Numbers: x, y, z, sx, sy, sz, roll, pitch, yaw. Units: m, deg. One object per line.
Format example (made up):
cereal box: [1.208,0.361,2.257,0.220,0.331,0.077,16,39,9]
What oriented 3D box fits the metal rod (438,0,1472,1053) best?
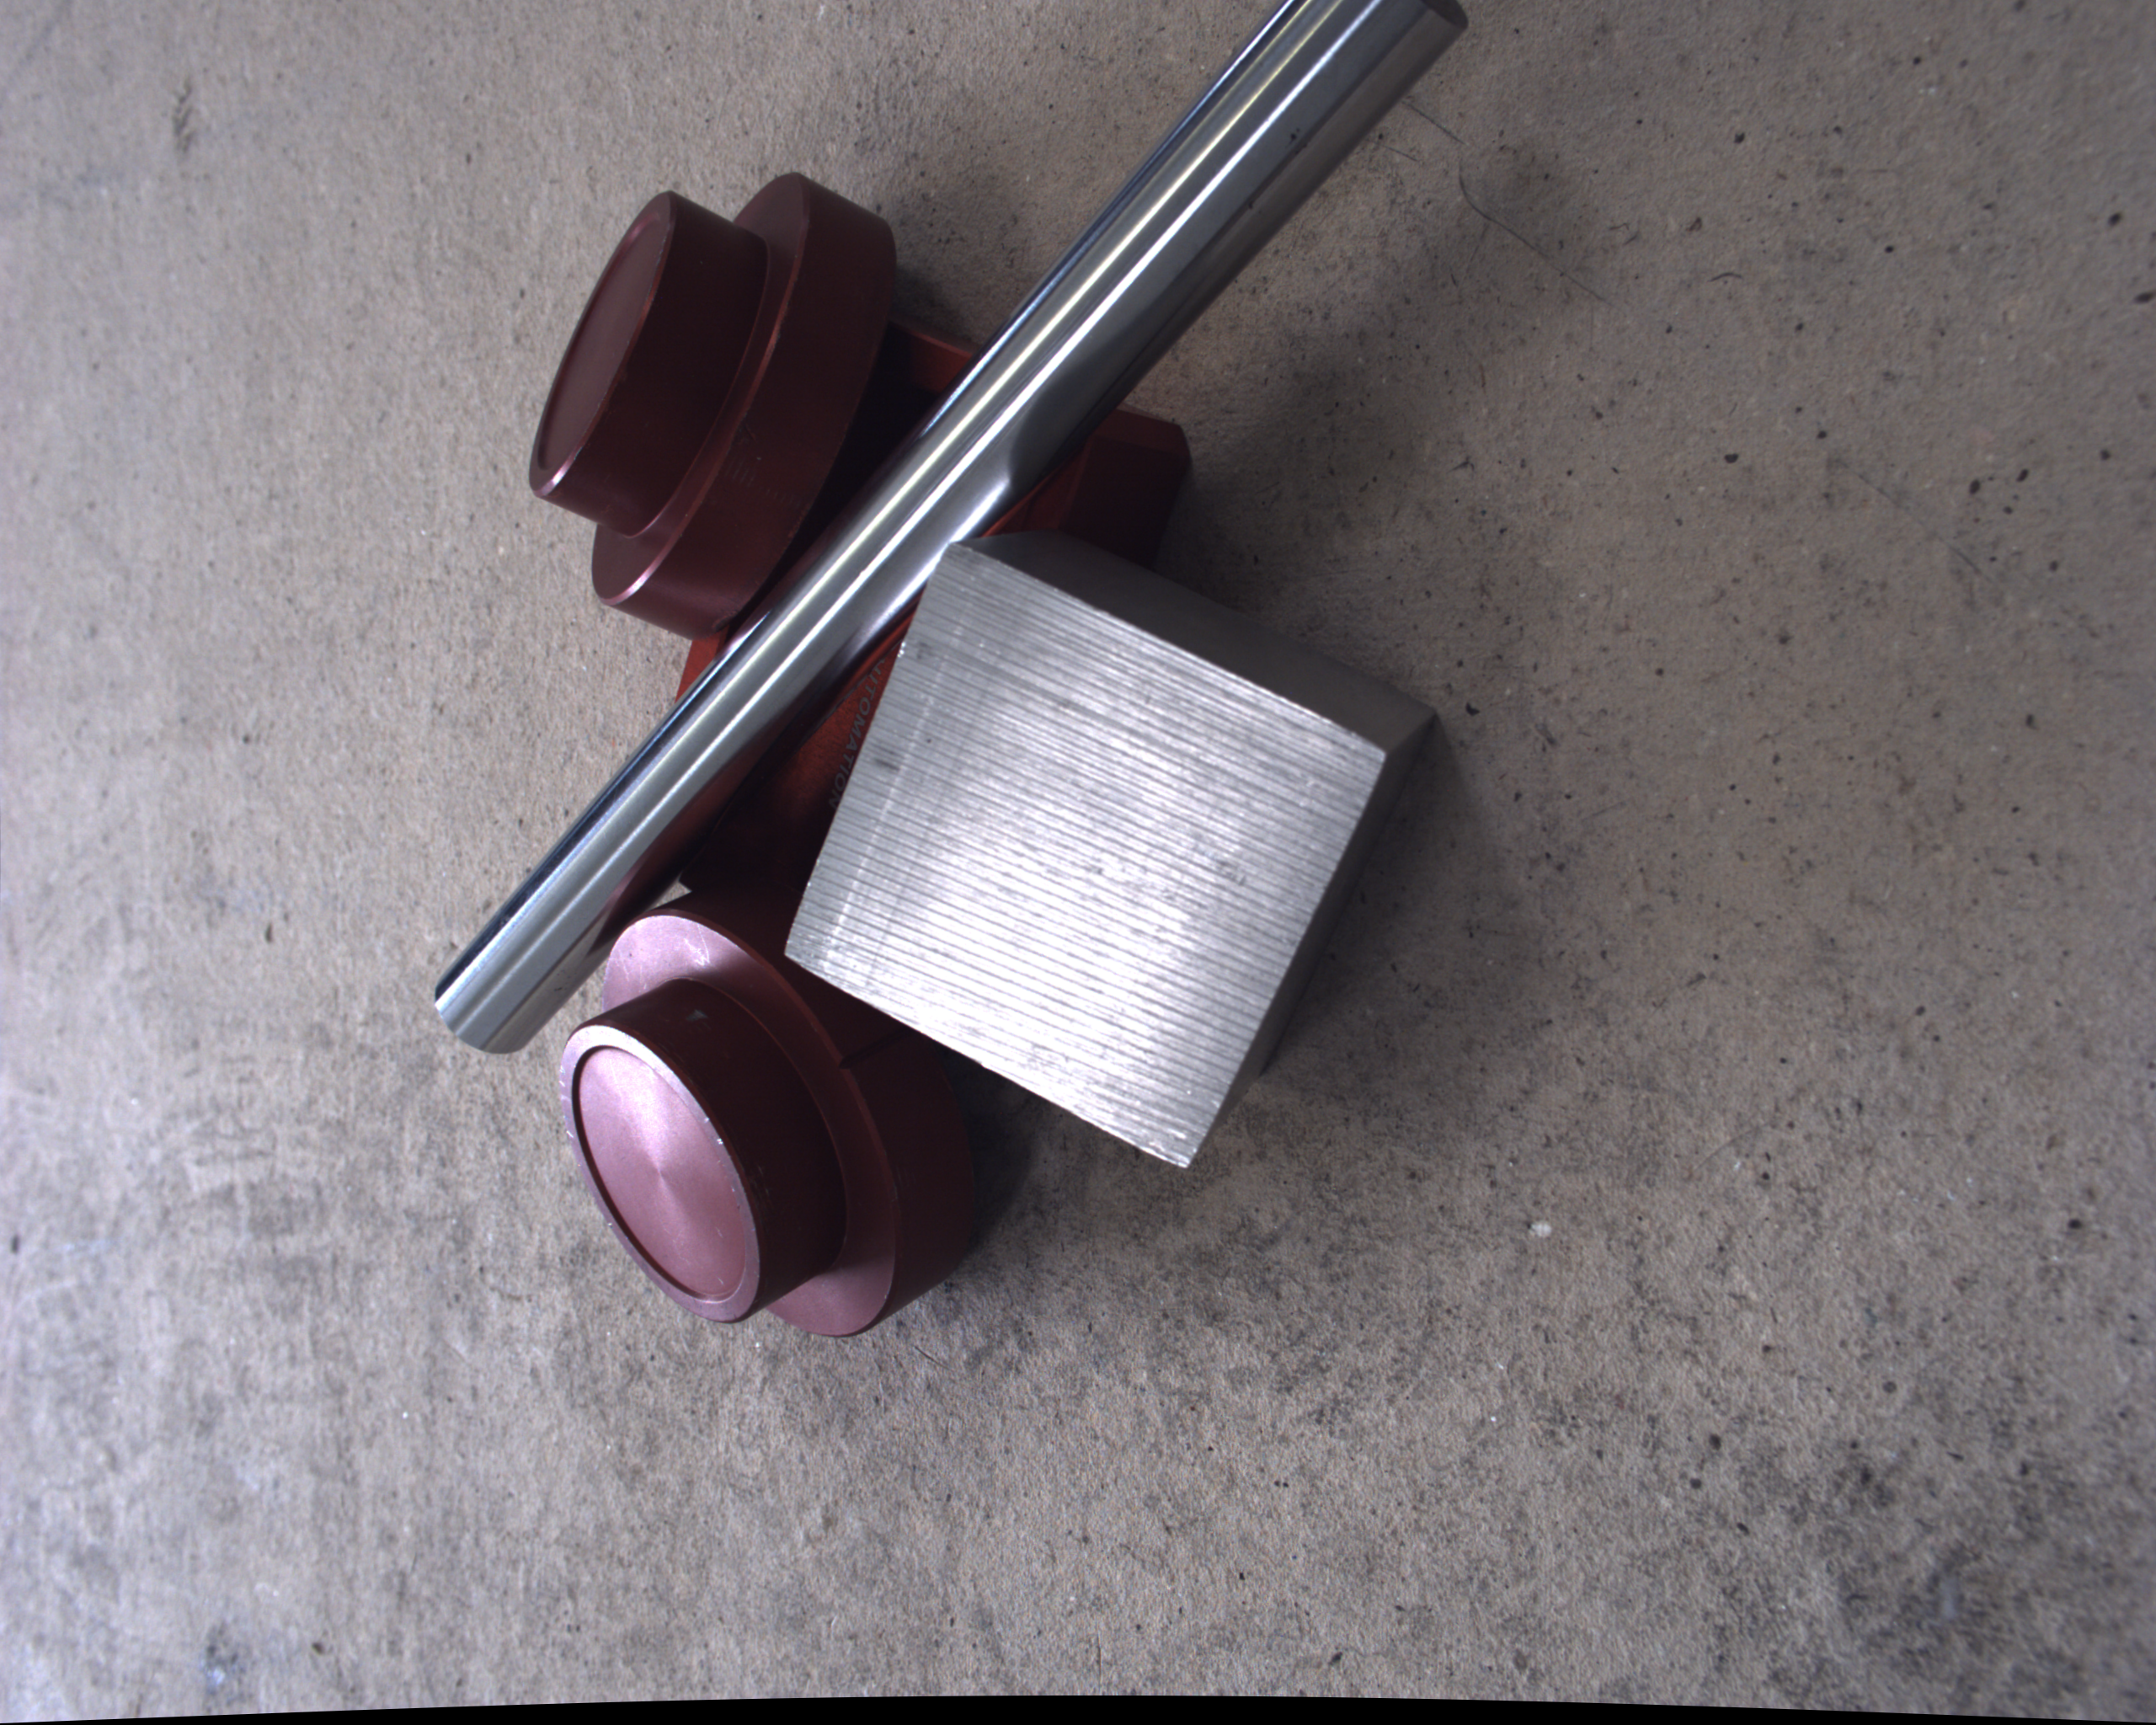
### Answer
metal rod: [-0.042,-0.053,0.402,0.299,0.025,0.025,-42,65,31]

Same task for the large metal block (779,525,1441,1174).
large metal block: [0.006,-0.006,0.366,0.080,0.050,0.079,27,108,11]

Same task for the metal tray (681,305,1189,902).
metal tray: [-0.038,-0.043,0.435,0.090,0.030,0.129,31,109,35]

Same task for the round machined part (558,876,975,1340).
round machined part: [-0.070,0.055,0.431,0.098,0.042,0.097,24,127,37]

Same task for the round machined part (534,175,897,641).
round machined part: [-0.080,-0.099,0.435,0.098,0.042,0.098,-41,37,42]
